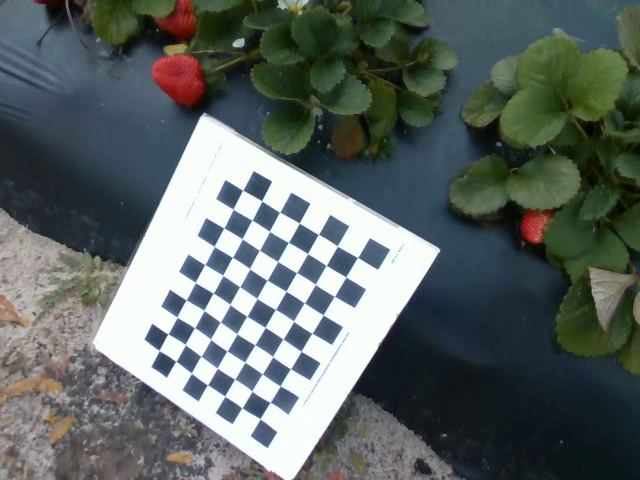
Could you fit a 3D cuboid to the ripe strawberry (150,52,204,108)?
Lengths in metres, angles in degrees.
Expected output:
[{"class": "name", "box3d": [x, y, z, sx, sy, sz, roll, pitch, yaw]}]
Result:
[{"class": "ripe strawberry", "box3d": [-0.159, -0.179, 0.611, 0.057, 0.056, 0.065, -8, 5, 34]}]
